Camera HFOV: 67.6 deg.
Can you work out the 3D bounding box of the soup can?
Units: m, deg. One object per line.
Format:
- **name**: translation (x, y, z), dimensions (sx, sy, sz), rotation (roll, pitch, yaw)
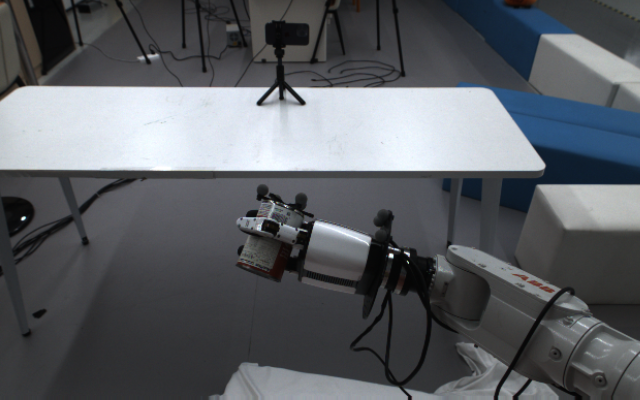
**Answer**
- **soup can**: translation (-0.069, 0.061, 0.693), dimensions (0.067, 0.067, 0.101), rotation (16, 75, 19)
